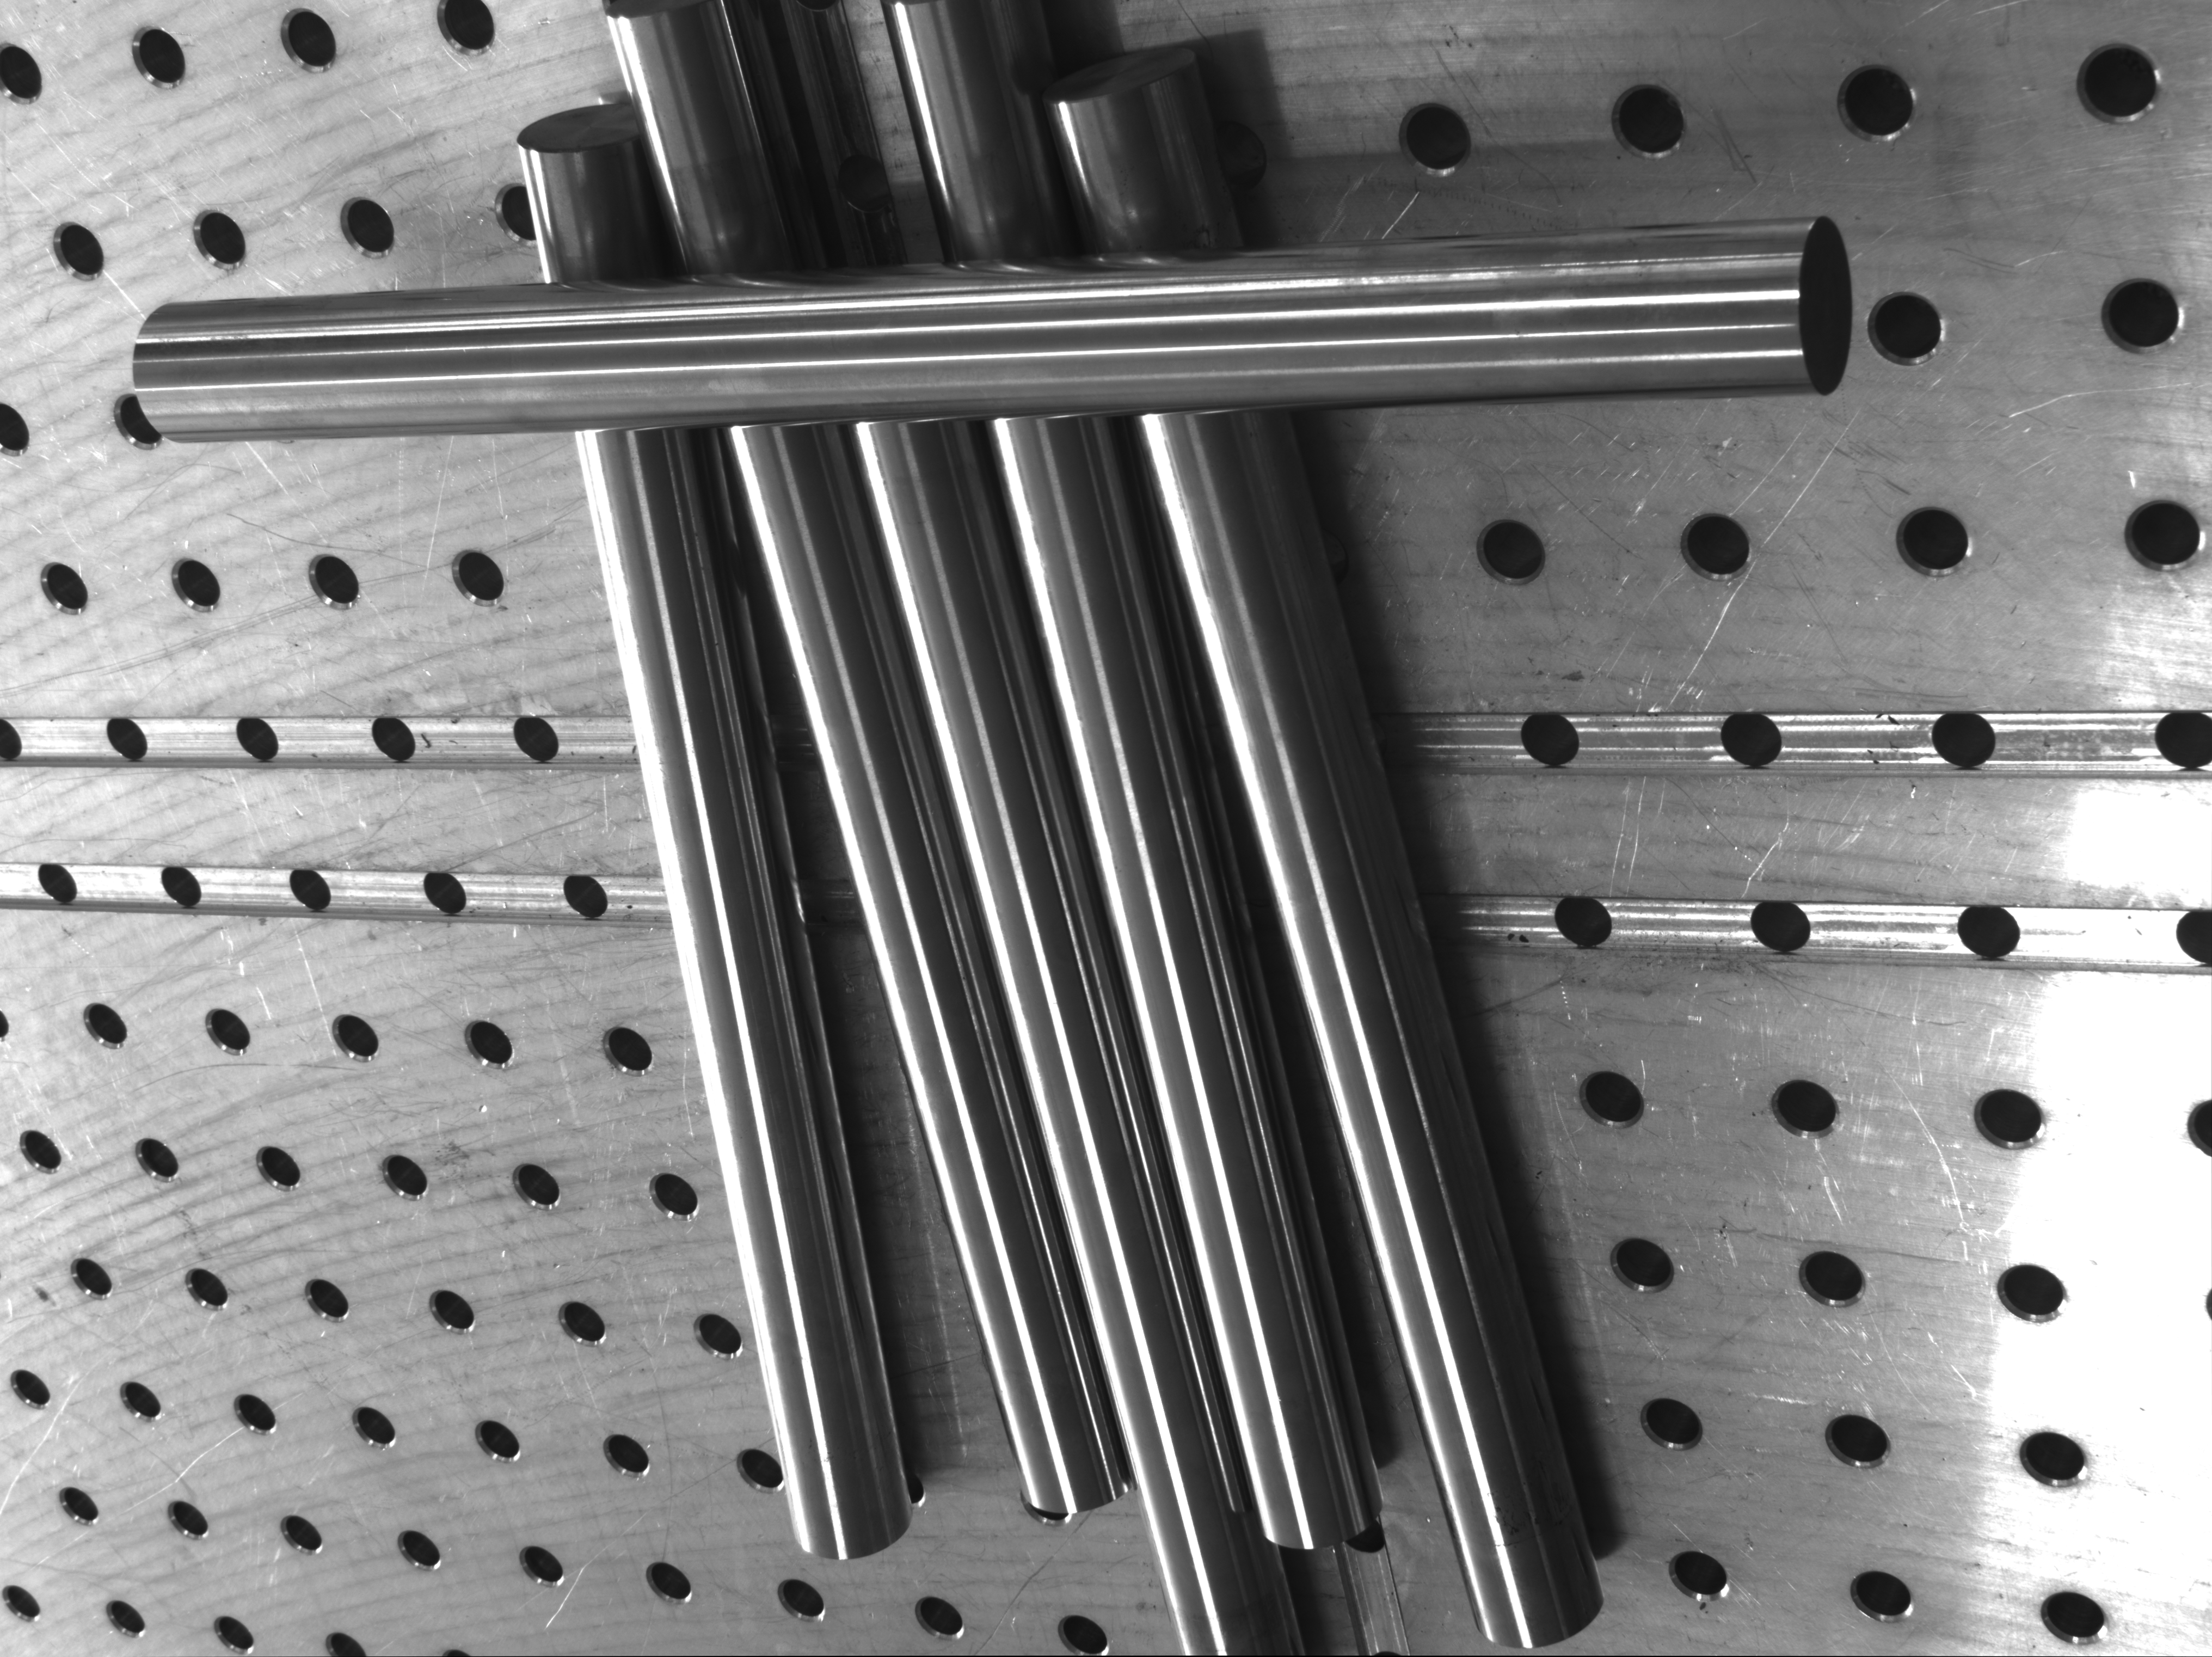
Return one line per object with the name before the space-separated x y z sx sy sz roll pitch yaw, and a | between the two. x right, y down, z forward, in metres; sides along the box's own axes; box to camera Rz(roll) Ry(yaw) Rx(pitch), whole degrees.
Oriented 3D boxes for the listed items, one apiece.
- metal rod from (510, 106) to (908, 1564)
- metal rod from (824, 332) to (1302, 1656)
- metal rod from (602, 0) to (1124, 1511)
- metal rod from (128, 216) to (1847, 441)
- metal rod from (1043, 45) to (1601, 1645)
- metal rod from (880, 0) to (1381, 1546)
metal rod | -0.071 0.013 0.691 0.025 0.025 0.300 7 121 25
metal rod | -0.003 0.045 0.675 0.025 0.025 0.300 1 119 28
metal rod | -0.038 -0.005 0.664 0.025 0.025 0.300 1 119 28
metal rod | -0.032 -0.077 0.584 0.299 0.025 0.025 2 119 27
metal rod | 0.042 0.014 0.633 0.025 0.025 0.300 -2 117 30
metal rod | 0.008 -0.002 0.642 0.025 0.025 0.300 1 119 28
